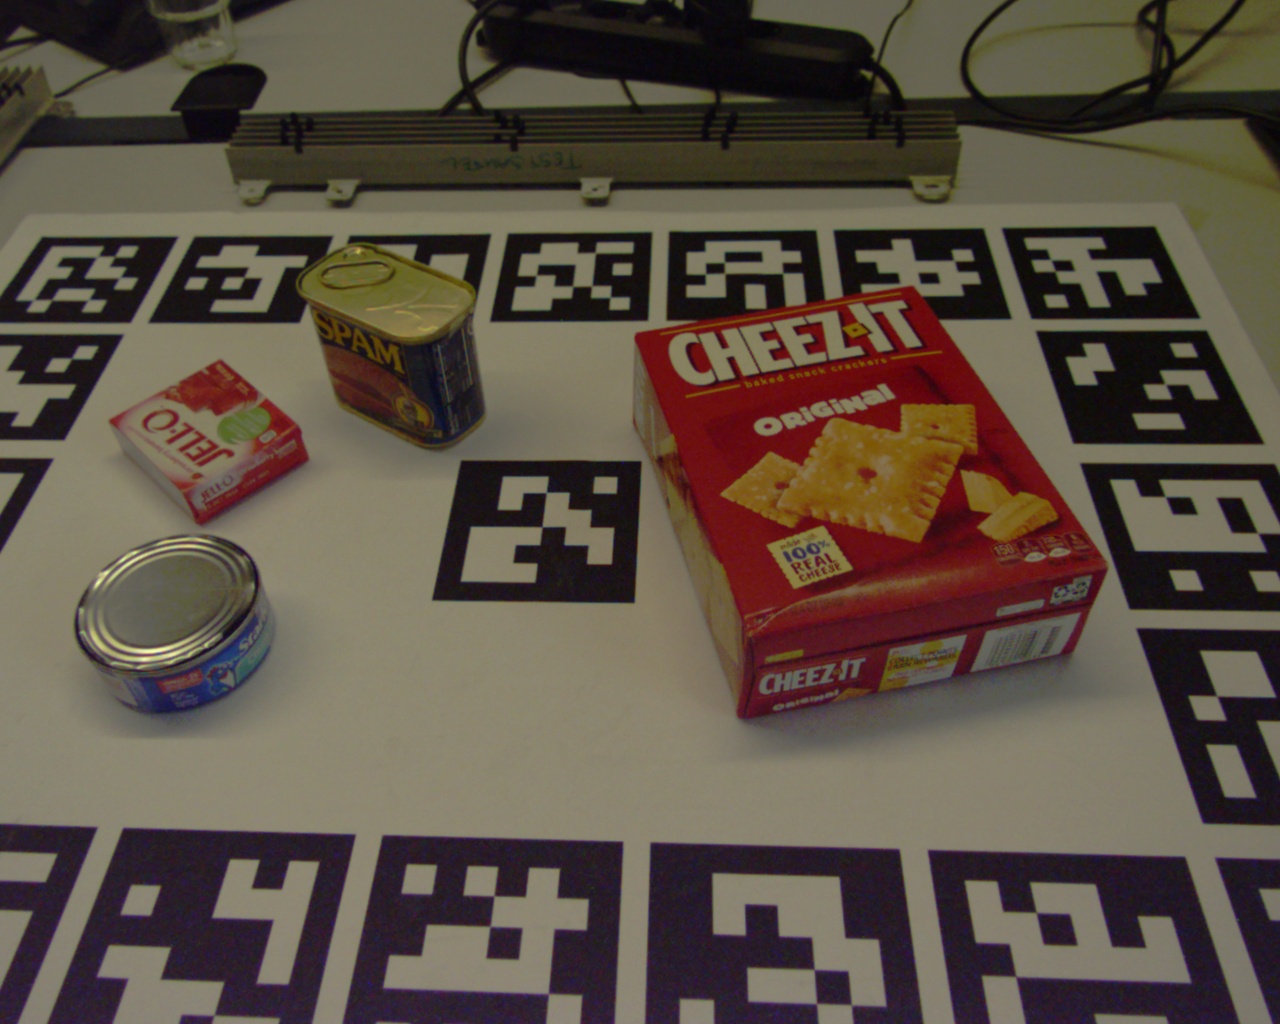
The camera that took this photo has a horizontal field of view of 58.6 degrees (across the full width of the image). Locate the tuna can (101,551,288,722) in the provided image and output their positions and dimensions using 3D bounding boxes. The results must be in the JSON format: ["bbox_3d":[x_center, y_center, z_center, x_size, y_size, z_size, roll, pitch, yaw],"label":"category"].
[{"bbox_3d":[-0.225,0.063,0.582,0.086,0.033,0.086,-2,49,2],"label":"tuna can"}]

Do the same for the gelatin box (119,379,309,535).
[{"bbox_3d":[-0.256,-0.036,0.687,0.090,0.030,0.072,35,53,28],"label":"gelatin box"}]

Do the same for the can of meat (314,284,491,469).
[{"bbox_3d":[-0.143,-0.082,0.701,0.103,0.083,0.057,23,50,24],"label":"can of meat"}]

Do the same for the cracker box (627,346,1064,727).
[{"bbox_3d":[0.097,-0.002,0.617,0.163,0.072,0.215,-11,44,-10],"label":"cracker box"}]
